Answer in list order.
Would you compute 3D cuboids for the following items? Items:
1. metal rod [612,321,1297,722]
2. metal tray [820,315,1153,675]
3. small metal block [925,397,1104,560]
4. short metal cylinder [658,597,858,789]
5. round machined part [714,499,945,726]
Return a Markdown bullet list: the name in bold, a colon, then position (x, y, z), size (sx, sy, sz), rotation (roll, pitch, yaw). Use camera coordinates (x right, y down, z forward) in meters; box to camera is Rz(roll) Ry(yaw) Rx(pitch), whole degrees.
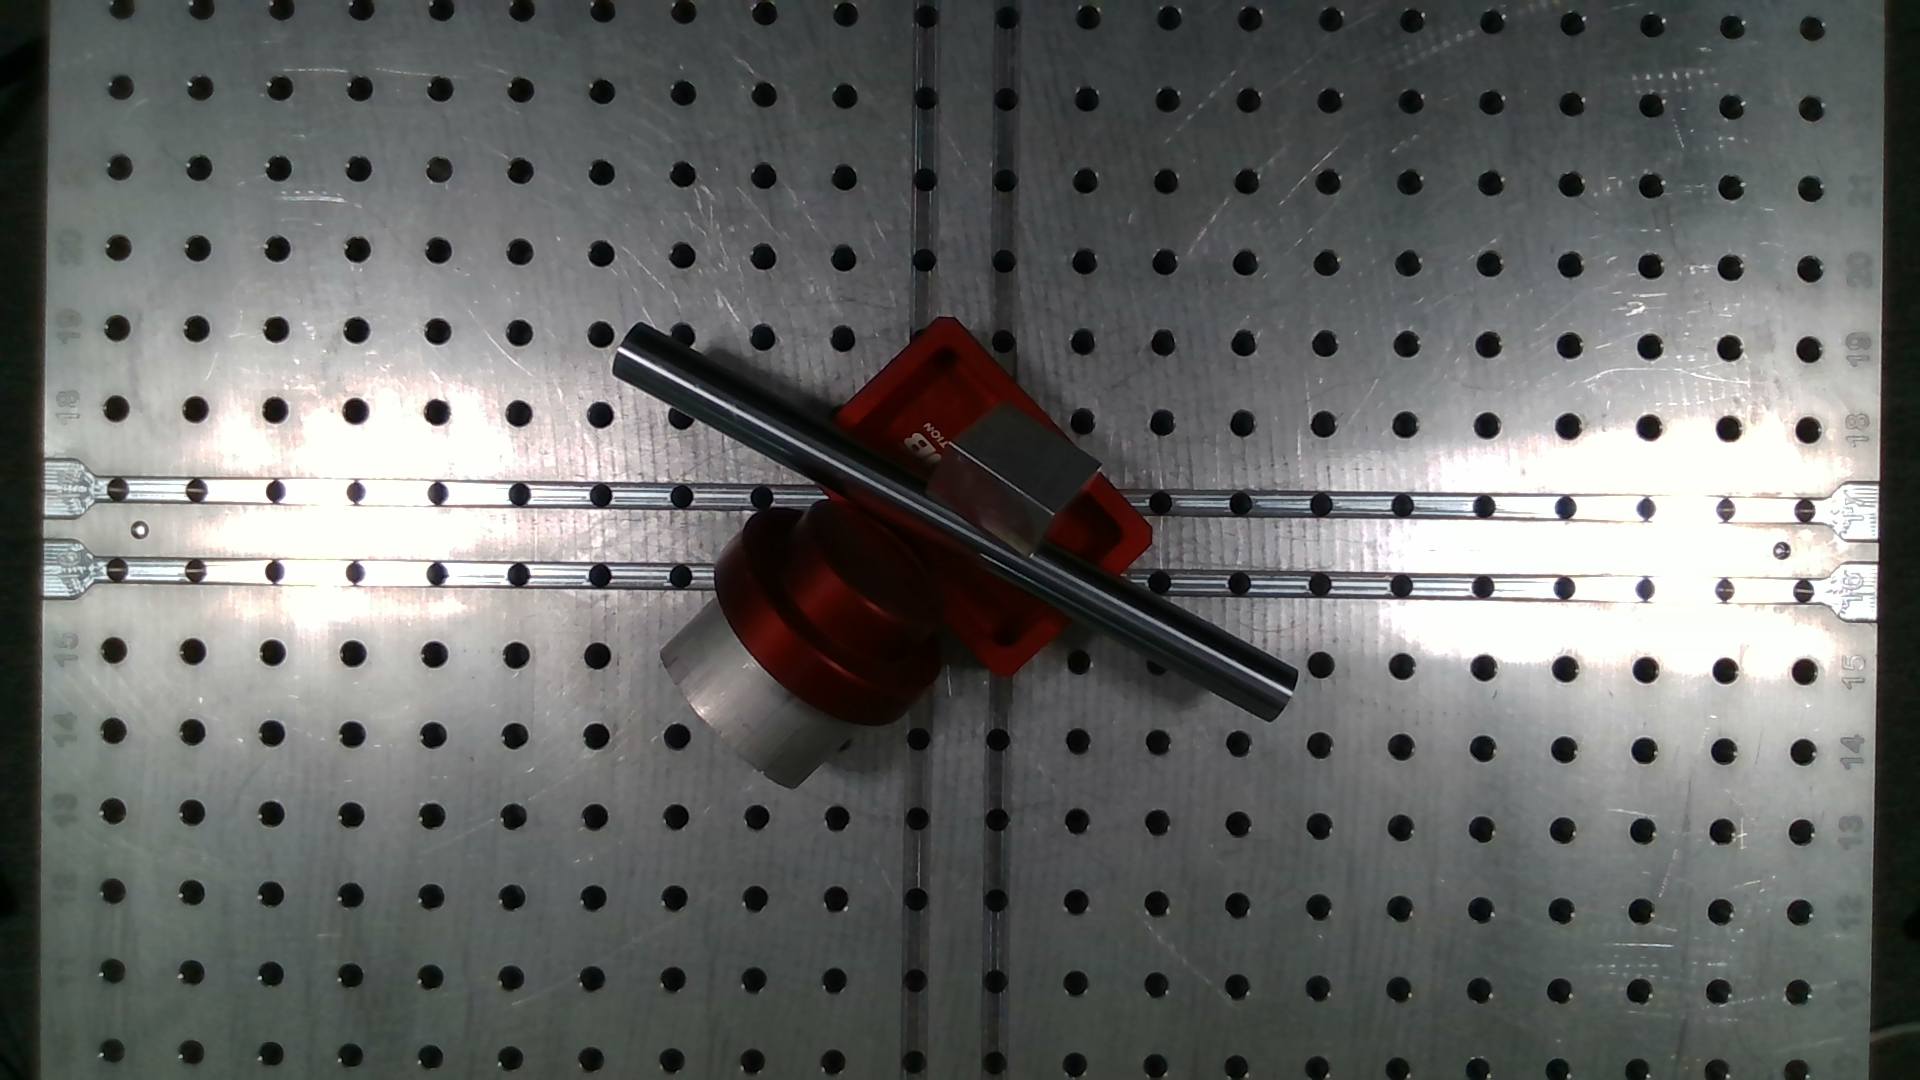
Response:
- **metal rod**: position (-0.002, -0.007, 0.559), size (0.300, 0.025, 0.025), rotation (28, 90, 0)
- **metal tray**: position (0.006, -0.019, 0.586), size (0.090, 0.030, 0.130), rotation (-43, 90, 0)
- **small metal block**: position (0.023, -0.026, 0.555), size (0.050, 0.050, 0.025), rotation (35, 128, 9)
- **short metal cylinder**: position (-0.076, 0.054, 0.561), size (0.050, 0.080, 0.080), rotation (-44, 90, 0)
- **round machined part**: position (-0.045, 0.022, 0.543), size (0.098, 0.098, 0.042), rotation (44, 112, 0)
